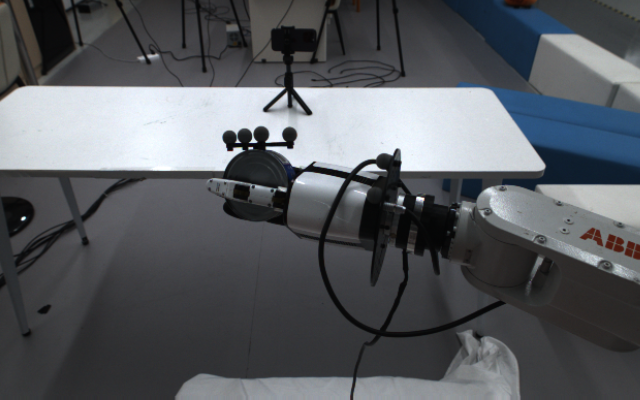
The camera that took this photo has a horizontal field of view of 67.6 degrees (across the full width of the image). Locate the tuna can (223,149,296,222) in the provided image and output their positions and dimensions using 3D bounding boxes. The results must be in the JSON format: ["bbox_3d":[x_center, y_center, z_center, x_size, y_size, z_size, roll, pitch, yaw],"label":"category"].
[{"bbox_3d":[-0.071,-0.018,0.584,0.085,0.085,0.034,15,10,18],"label":"tuna can"}]
